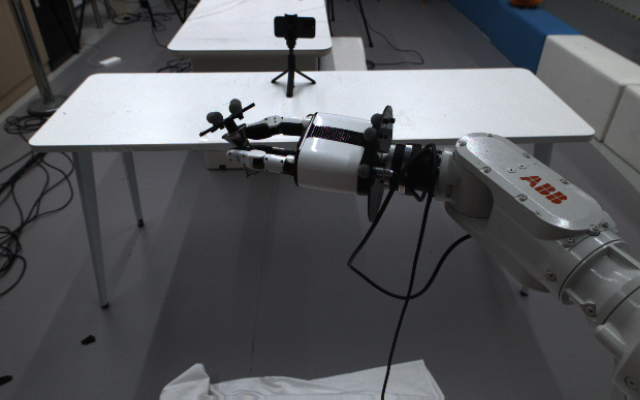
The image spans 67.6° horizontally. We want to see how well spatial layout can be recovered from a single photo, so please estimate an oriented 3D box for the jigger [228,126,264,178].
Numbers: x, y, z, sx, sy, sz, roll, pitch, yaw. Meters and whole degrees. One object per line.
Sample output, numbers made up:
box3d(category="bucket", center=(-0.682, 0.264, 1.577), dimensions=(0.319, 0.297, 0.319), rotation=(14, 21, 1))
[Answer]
box3d(category="jigger", center=(-0.104, -0.073, 0.704), dimensions=(0.043, 0.071, 0.043), rotation=(-28, 20, 11))
